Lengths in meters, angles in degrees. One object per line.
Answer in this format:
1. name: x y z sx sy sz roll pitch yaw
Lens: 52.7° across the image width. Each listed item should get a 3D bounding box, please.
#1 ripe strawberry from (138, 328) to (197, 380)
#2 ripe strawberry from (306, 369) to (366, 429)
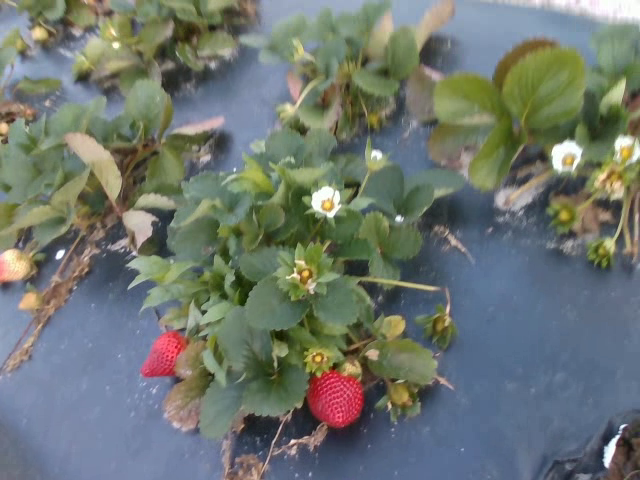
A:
1. ripe strawberry: -0.132 0.103 0.554 0.043 0.050 0.043 38 -17 35
2. ripe strawberry: 0.009 0.121 0.475 0.046 0.043 0.046 38 17 -26
